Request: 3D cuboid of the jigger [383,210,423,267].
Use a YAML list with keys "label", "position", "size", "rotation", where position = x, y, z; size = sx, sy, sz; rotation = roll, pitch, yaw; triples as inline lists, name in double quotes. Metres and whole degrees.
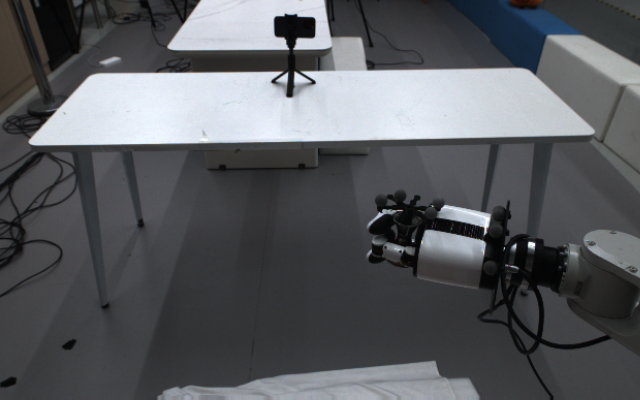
- label: "jigger"
  position: [0.125, 0.055, 0.698]
  size: [0.043, 0.071, 0.043]
  rotation: [3, 25, -1]
